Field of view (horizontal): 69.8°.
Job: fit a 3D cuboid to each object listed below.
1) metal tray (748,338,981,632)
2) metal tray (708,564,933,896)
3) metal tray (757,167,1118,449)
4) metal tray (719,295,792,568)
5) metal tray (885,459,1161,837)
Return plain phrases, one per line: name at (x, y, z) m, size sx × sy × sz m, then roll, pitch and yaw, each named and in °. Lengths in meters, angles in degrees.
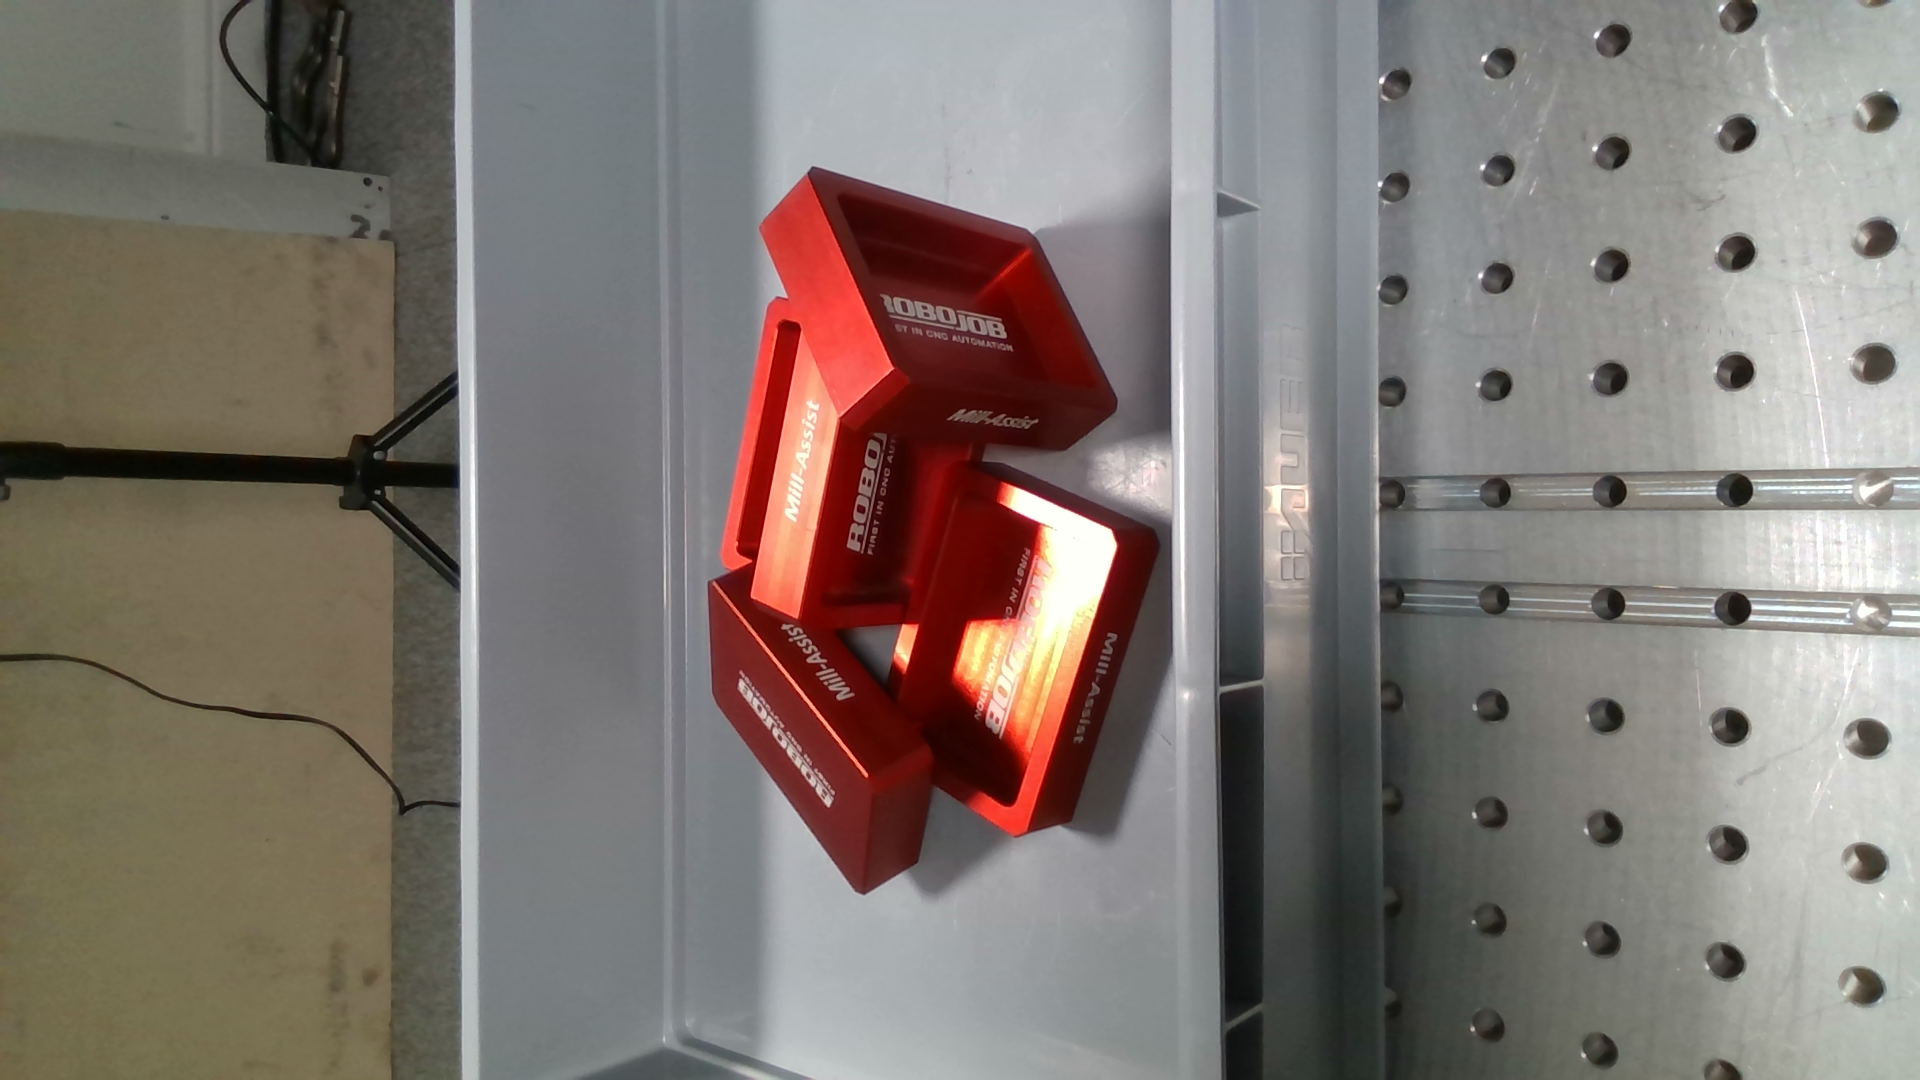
metal tray at (-0.033, -0.030, 0.564) m, size 0.030 × 0.090 × 0.130 m, roll 20°, pitch 103°, yaw 38°
metal tray at (-0.065, 0.081, 0.607) m, size 0.130 × 0.030 × 0.090 m, roll 46°, pitch 146°, yaw 30°
metal tray at (-0.005, -0.082, 0.514) m, size 0.030 × 0.130 × 0.090 m, roll -37°, pitch 67°, yaw 34°
metal tray at (-0.060, -0.038, 0.626) m, size 0.090 × 0.030 × 0.130 m, roll 21°, pitch 104°, yaw 38°
metal tray at (0.020, 0.042, 0.561) m, size 0.090 × 0.030 × 0.130 m, roll 27°, pitch 107°, yaw 37°
